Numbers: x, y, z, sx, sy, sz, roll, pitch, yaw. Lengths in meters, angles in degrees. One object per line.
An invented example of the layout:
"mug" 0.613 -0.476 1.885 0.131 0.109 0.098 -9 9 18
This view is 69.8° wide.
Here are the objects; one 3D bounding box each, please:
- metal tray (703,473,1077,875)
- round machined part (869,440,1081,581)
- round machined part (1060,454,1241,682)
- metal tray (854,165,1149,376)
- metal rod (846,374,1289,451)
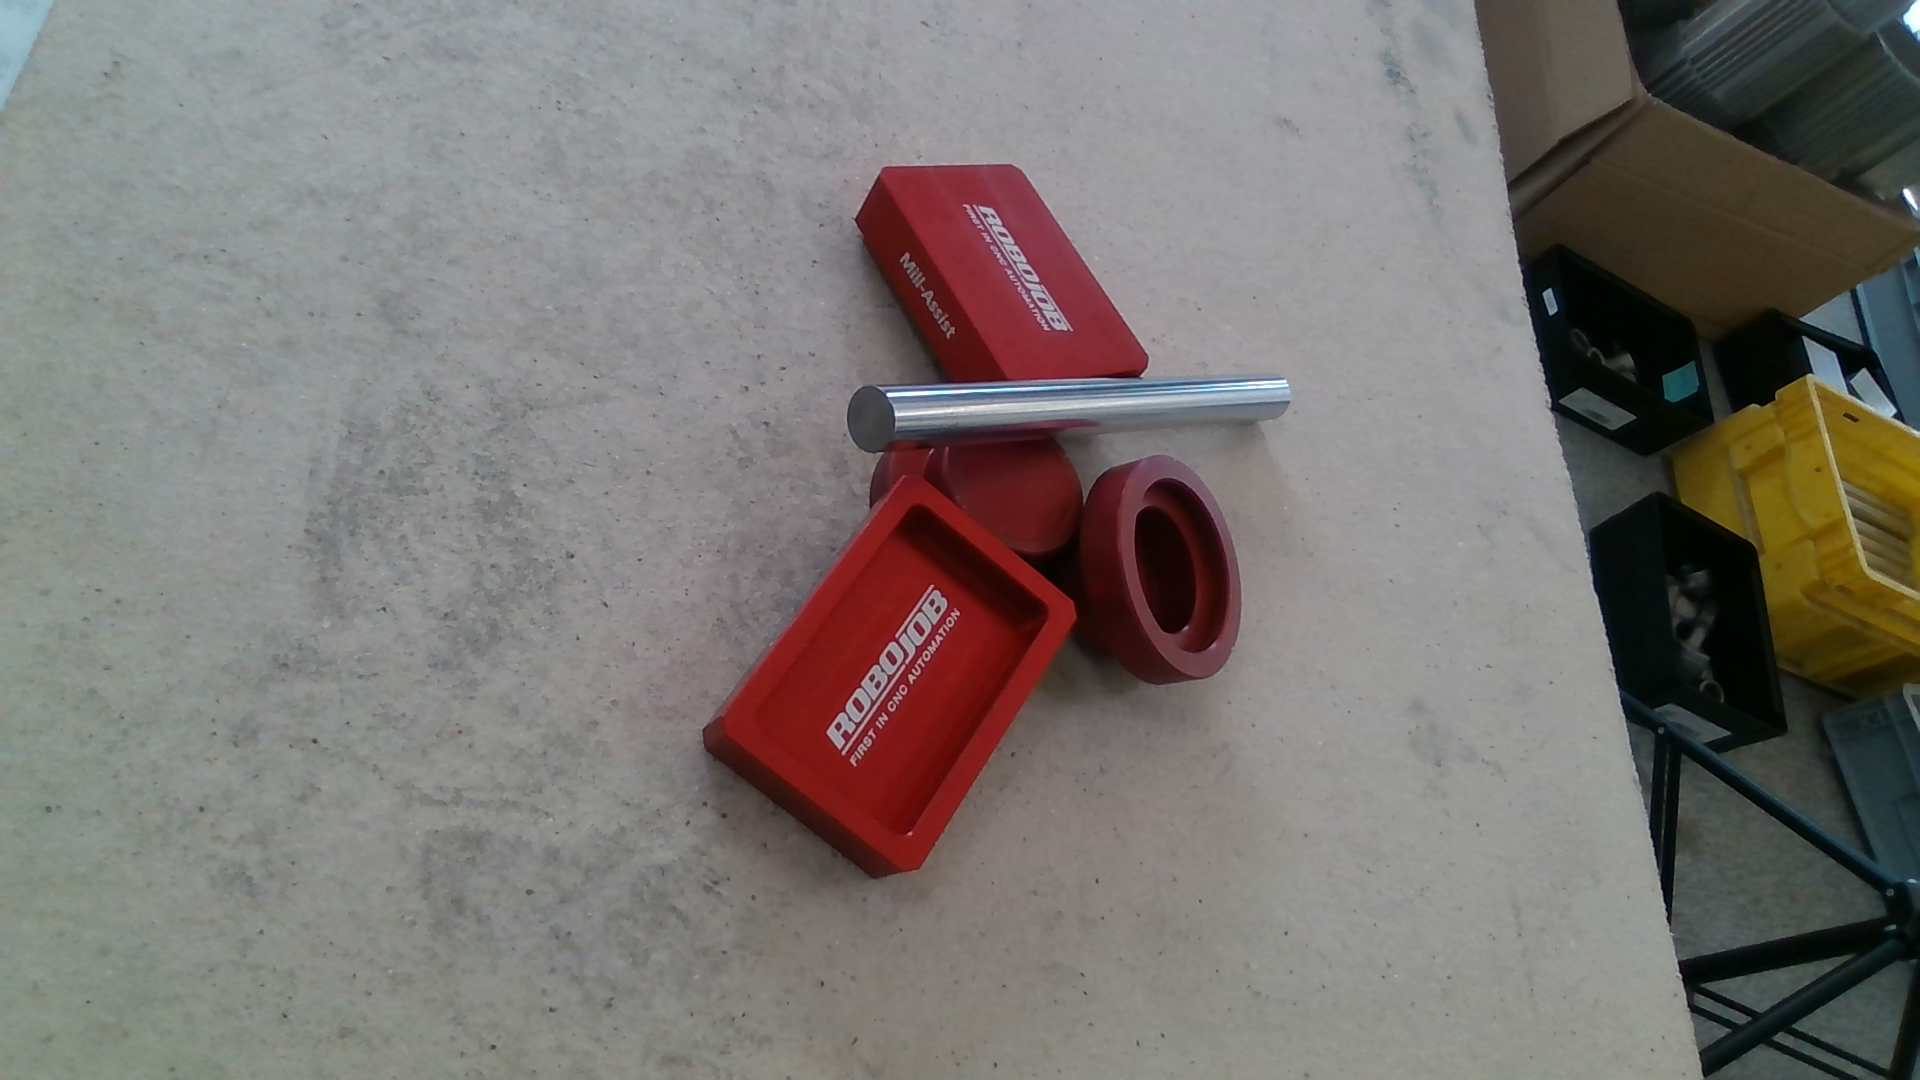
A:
"metal tray" -0.024 0.050 0.528 0.090 0.030 0.130 40 62 -8
"round machined part" 0.013 -0.017 0.594 0.098 0.042 0.098 14 59 -25
"round machined part" 0.080 0.015 0.603 0.098 0.042 0.098 21 63 -46
"metal tray" 0.019 -0.118 0.645 0.090 0.030 0.130 -14 64 -39
"metal rod" 0.065 -0.060 0.616 0.300 0.025 0.025 -9 70 -49
